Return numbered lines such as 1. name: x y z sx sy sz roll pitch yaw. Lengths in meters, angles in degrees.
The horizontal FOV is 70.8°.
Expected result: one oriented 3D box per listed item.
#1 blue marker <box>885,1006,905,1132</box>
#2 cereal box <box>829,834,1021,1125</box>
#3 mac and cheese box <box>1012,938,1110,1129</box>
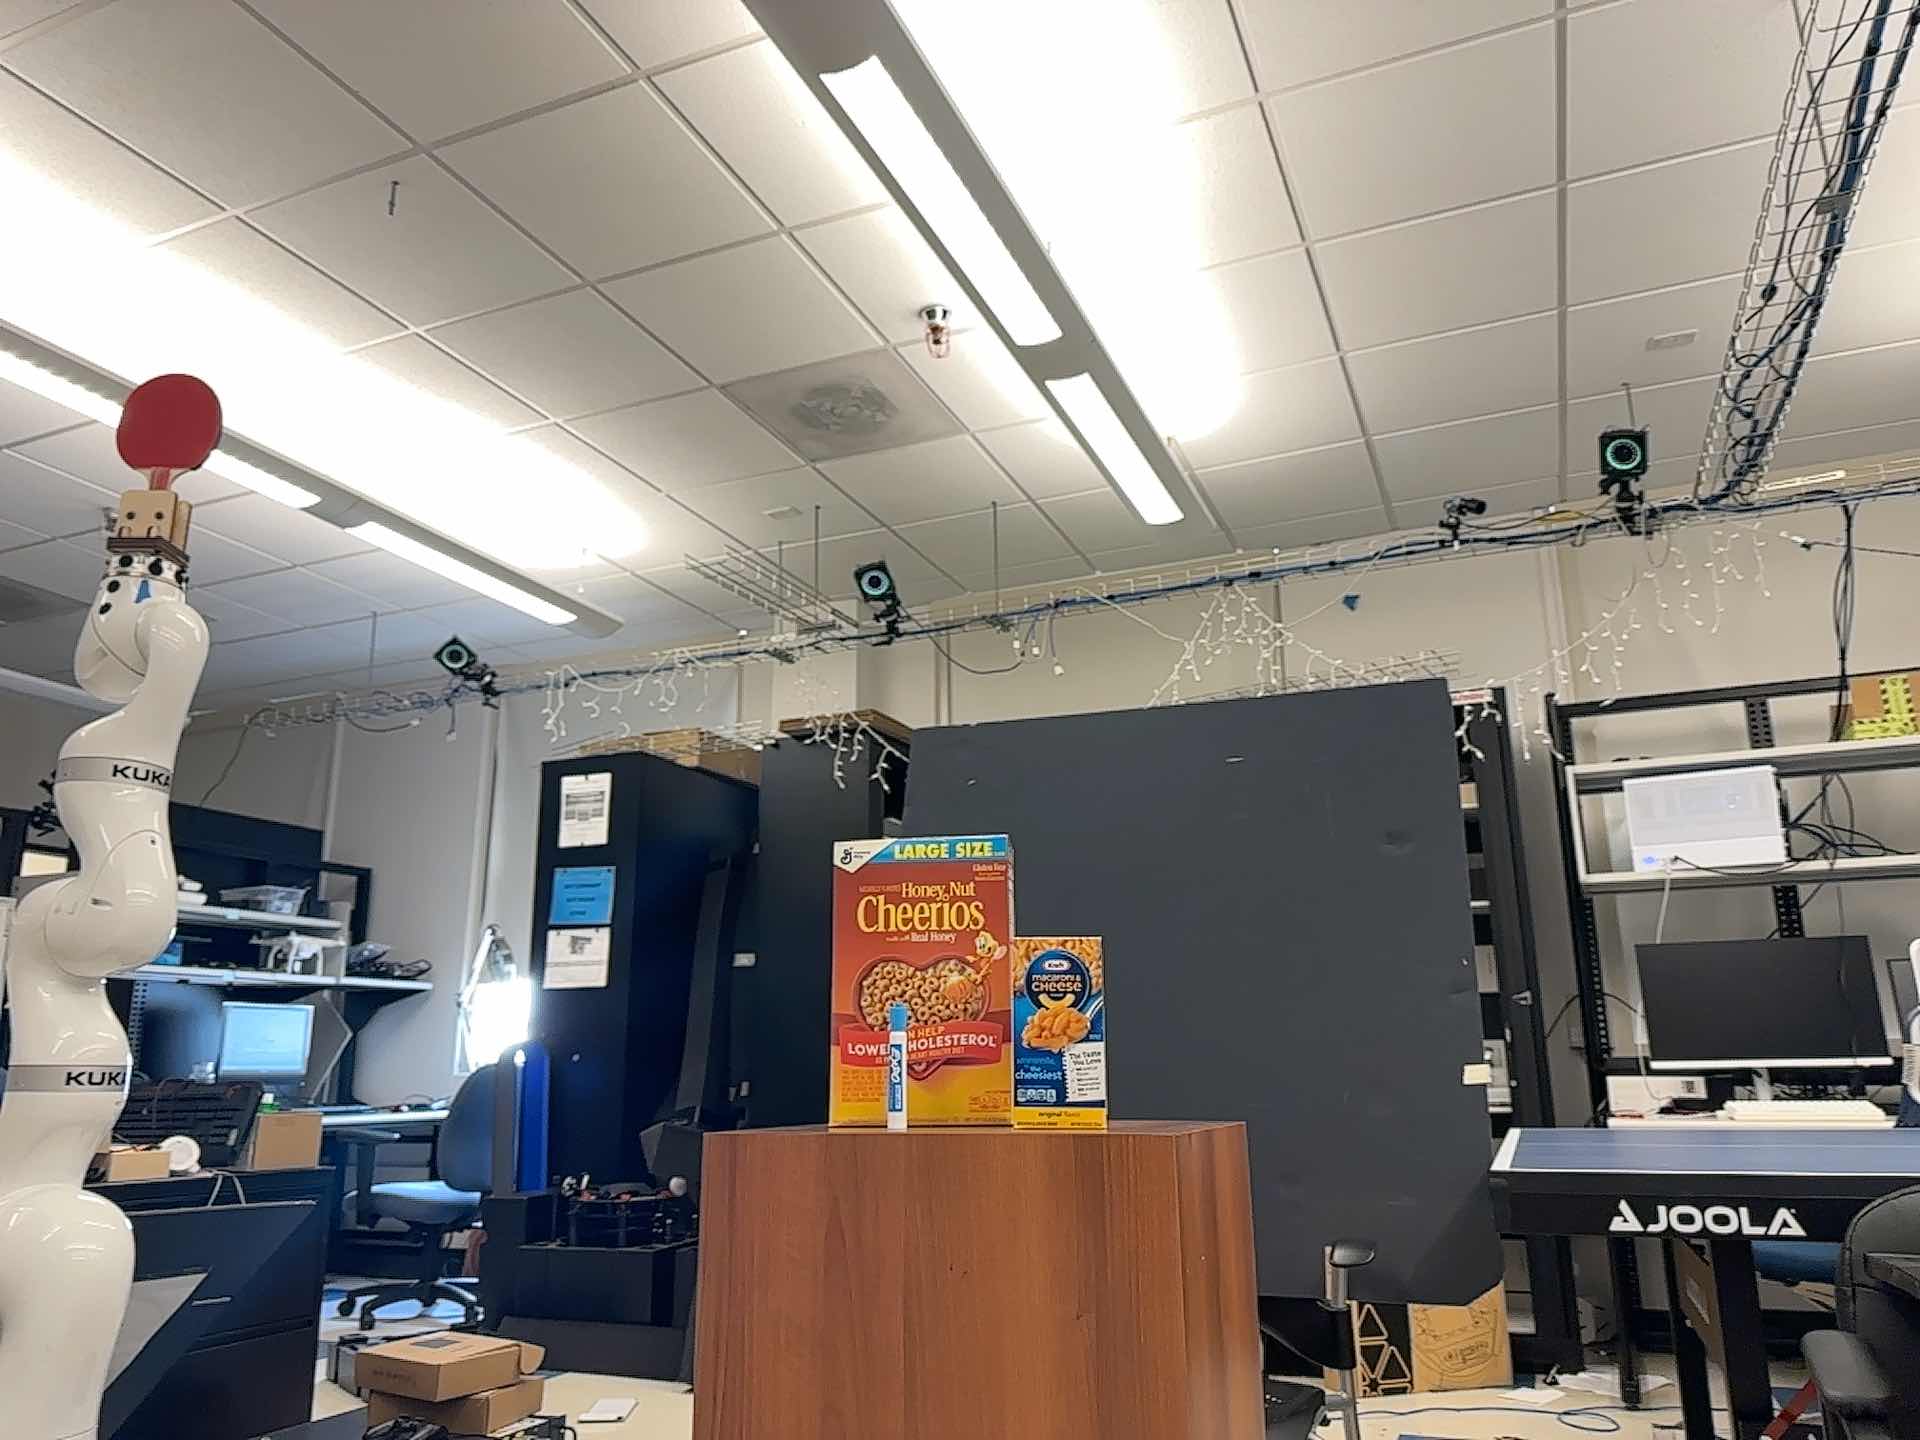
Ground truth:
1. blue marker: -0.066 0.349 1.356 0.020 0.121 0.020 -1 -14 0
2. cereal box: -0.037 0.282 1.472 0.195 0.297 0.065 -3 -15 10
3. mac and cheese box: 0.099 0.311 1.345 0.088 0.181 0.035 -5 -16 17
